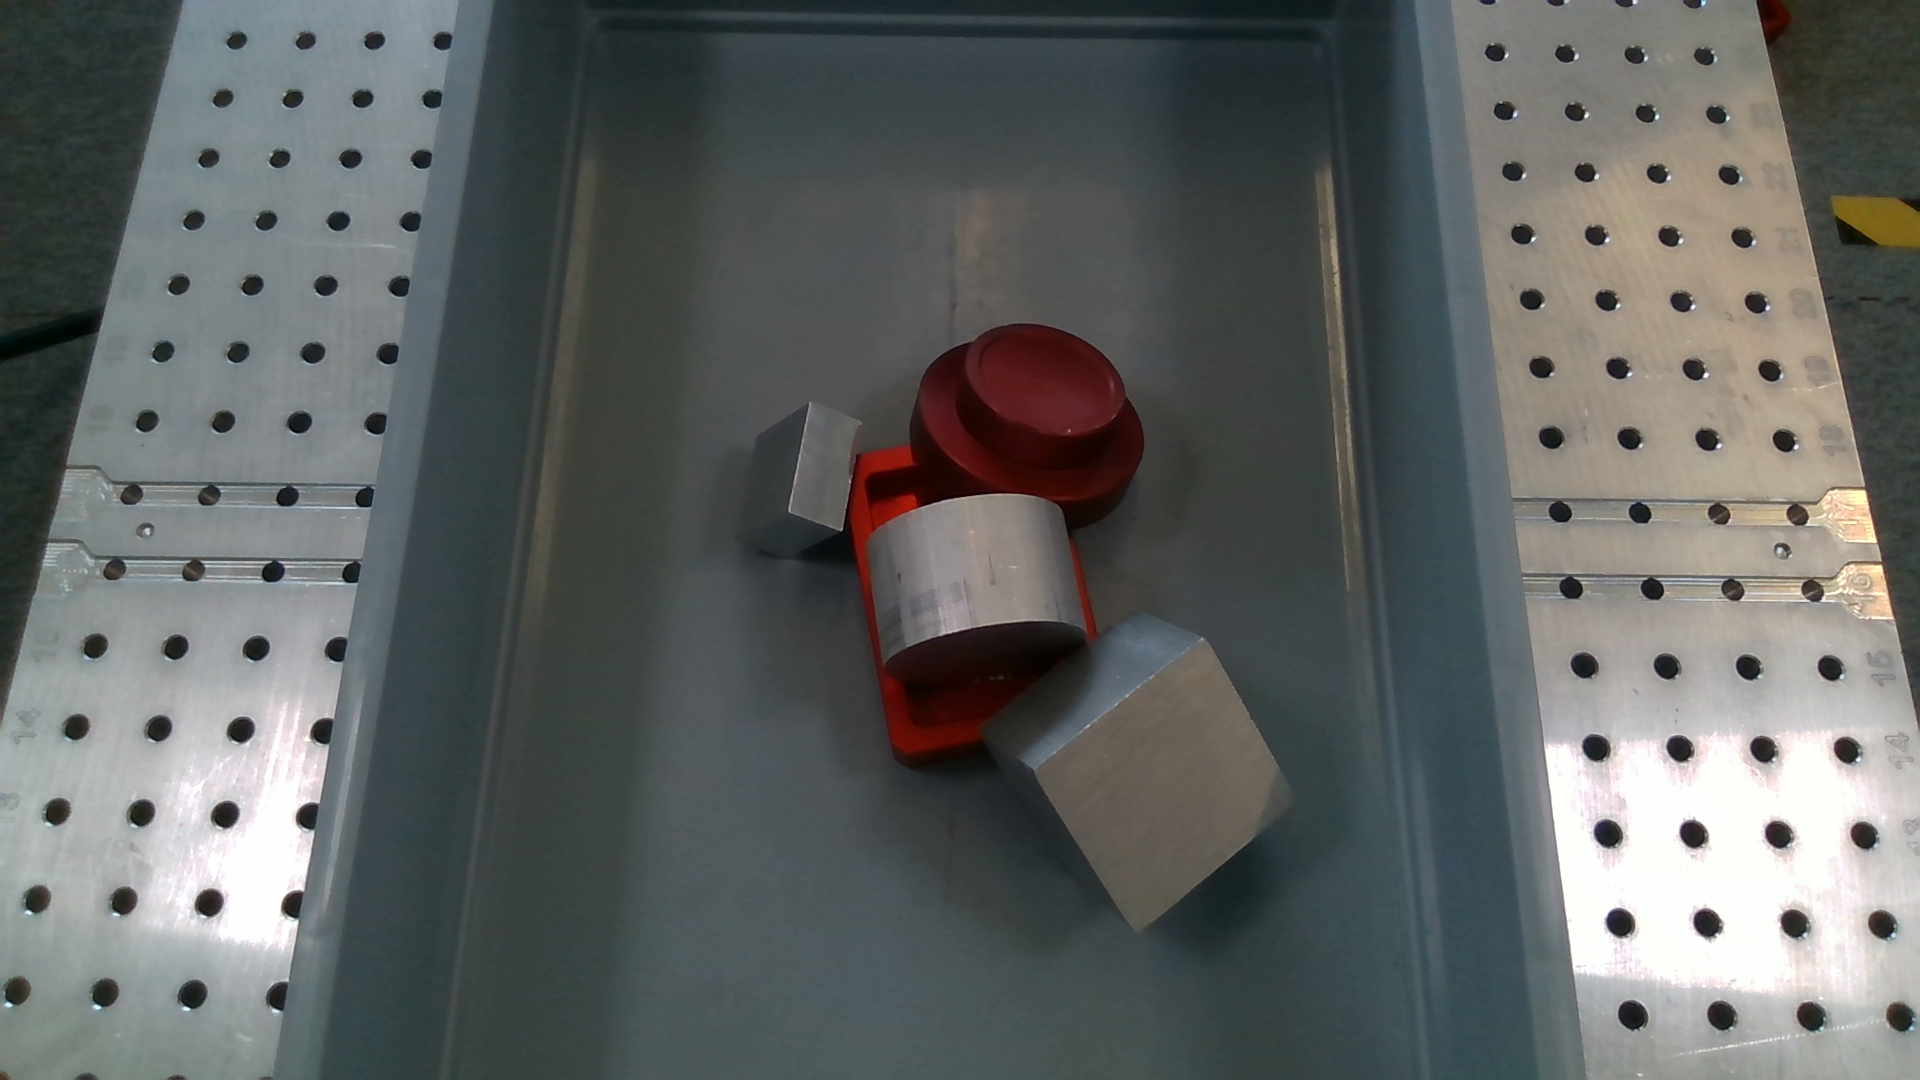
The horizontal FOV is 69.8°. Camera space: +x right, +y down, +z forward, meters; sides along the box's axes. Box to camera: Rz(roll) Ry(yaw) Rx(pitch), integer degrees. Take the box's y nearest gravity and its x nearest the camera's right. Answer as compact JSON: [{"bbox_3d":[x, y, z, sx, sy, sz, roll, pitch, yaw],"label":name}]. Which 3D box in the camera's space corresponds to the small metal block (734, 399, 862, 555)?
[{"bbox_3d":[-0.069,-0.025,0.580,0.025,0.050,0.050,20,66,-29],"label":"small metal block"}]

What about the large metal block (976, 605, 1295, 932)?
[{"bbox_3d":[0.067,0.085,0.523,0.080,0.050,0.080,-37,111,-12],"label":"large metal block"}]

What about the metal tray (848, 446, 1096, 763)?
[{"bbox_3d":[0.005,0.022,0.578,0.090,0.030,0.130,-11,71,-4],"label":"metal tray"}]

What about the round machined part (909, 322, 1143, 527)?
[{"bbox_3d":[0.030,-0.054,0.577,0.098,0.042,0.098,10,46,-10],"label":"round machined part"}]

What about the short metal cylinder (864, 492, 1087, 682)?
[{"bbox_3d":[0.006,0.020,0.537,0.080,0.080,0.050,-9,71,-3],"label":"short metal cylinder"}]
